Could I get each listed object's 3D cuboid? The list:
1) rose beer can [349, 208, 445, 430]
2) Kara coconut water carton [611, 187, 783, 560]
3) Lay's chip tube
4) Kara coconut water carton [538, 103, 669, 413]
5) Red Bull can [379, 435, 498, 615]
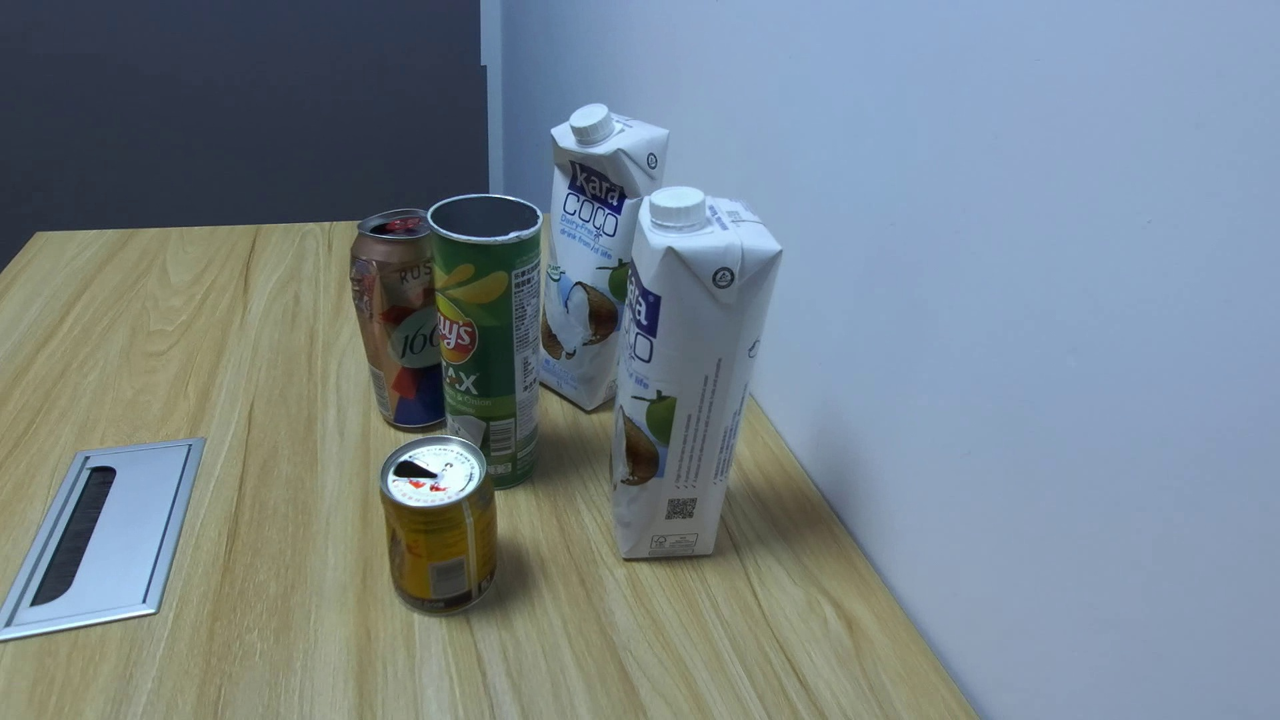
[{"bbox_3d":[-0.178,-0.028,0.548,0.076,0.167,0.065,-21,38,-31],"label":"rose beer can"},{"bbox_3d":[0.026,0.015,0.438,0.075,0.245,0.077,0,33,-12],"label":"Kara coconut water carton"},{"bbox_3d":[-0.102,-0.007,0.488,0.071,0.202,0.071,4,34,-2],"label":"Lay's chip tube"},{"bbox_3d":[-0.035,-0.081,0.574,0.099,0.244,0.071,24,36,26],"label":"Kara coconut water carton"},{"bbox_3d":[-0.122,0.099,0.428,0.069,0.092,0.069,4,34,-3],"label":"Red Bull can"}]
